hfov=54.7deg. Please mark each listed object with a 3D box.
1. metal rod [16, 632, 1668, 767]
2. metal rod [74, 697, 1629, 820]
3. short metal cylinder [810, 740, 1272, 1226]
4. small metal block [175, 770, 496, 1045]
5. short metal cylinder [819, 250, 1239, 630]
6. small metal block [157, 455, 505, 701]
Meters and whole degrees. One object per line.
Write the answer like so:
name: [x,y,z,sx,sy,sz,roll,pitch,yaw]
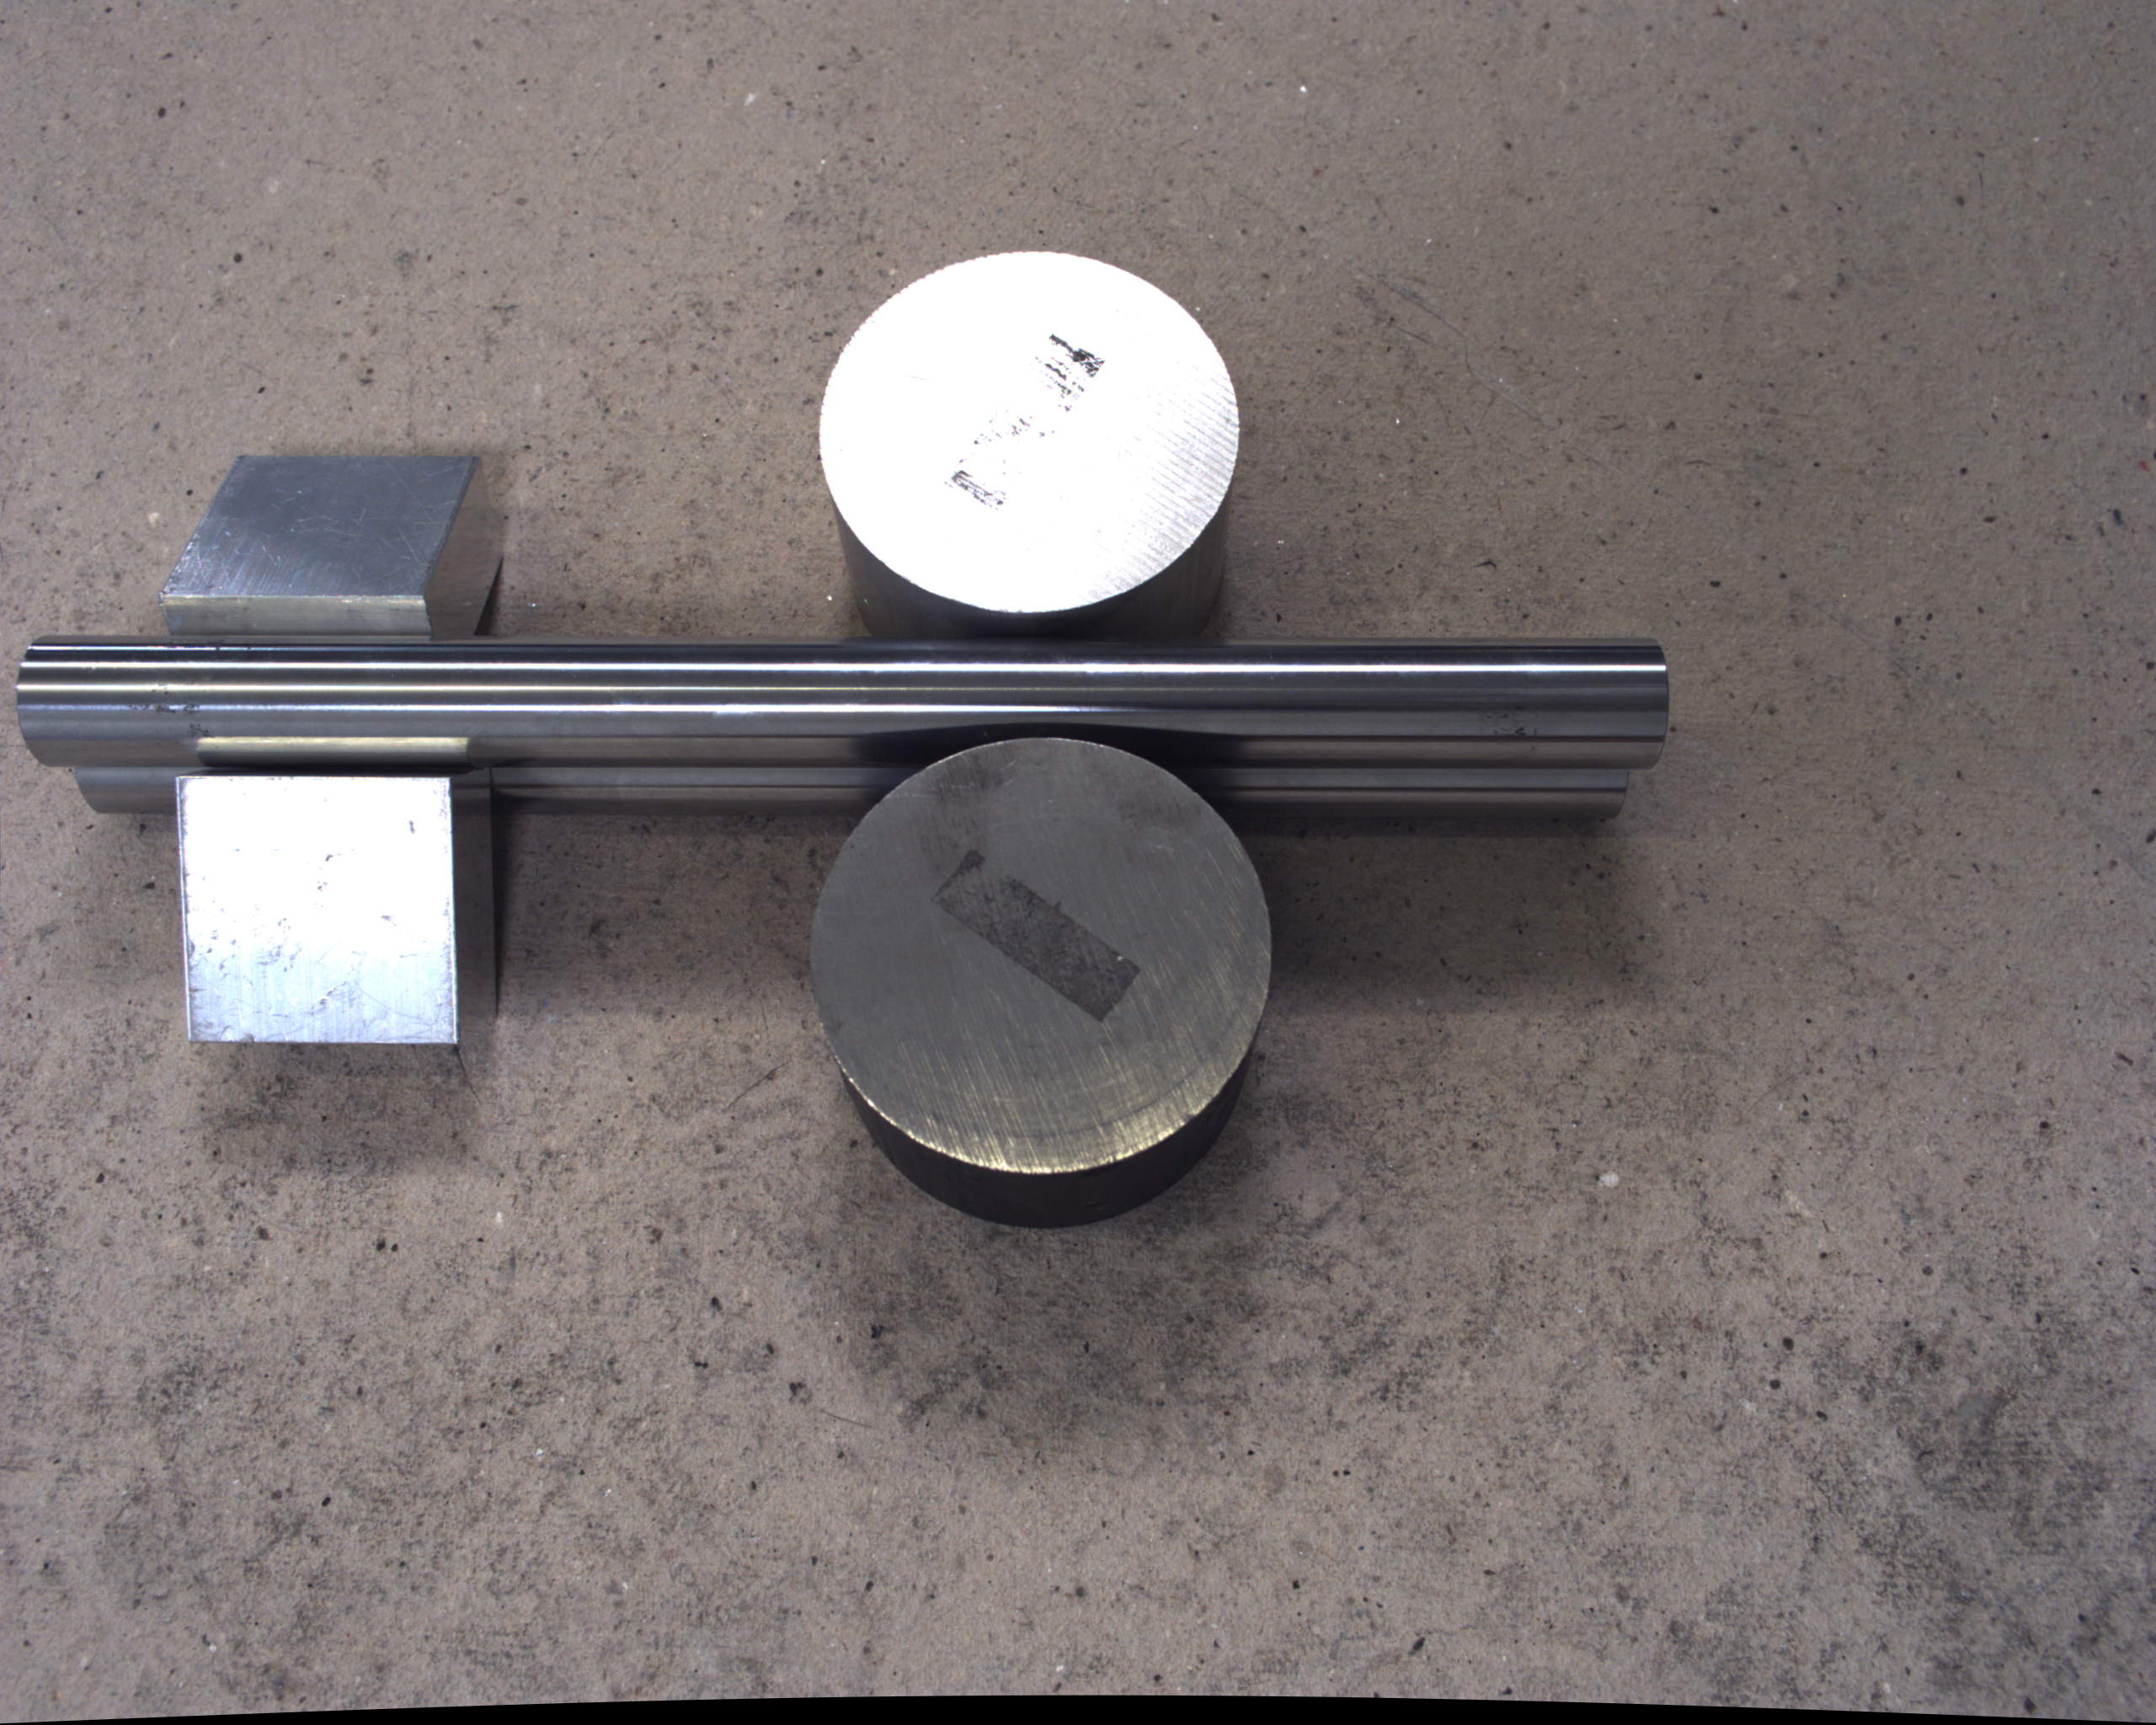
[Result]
metal rod: [-0.043,-0.031,0.394,0.302,0.025,0.025,0,70,0]
metal rod: [-0.044,-0.022,0.417,0.302,0.025,0.025,0,70,0]
short metal cylinder: [-0.006,0.024,0.387,0.081,0.050,0.080,0,70,0]
small metal block: [-0.139,0.007,0.395,0.050,0.025,0.050,1,97,-1]
short metal cylinder: [-0.009,-0.076,0.423,0.081,0.050,0.080,0,70,0]
small metal block: [-0.148,-0.058,0.419,0.050,0.025,0.050,0,43,0]
